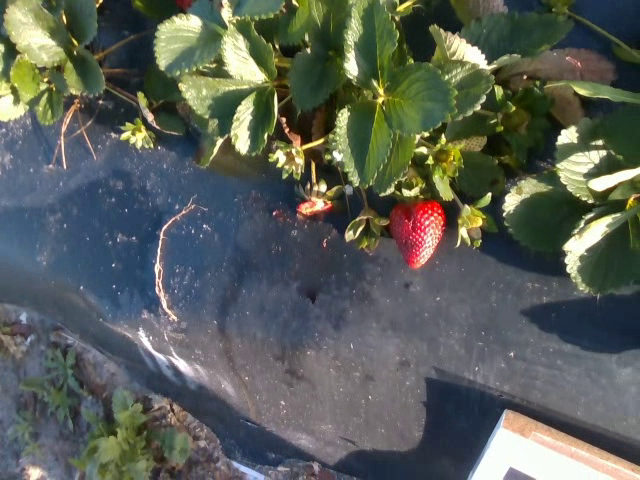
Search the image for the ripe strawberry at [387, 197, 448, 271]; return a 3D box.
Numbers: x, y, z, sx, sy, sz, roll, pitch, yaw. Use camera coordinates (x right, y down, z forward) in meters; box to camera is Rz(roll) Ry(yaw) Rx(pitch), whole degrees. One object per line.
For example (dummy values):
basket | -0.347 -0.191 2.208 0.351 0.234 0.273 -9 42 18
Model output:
ripe strawberry | 0.073 -0.001 0.459 0.052 0.052 0.041 -6 -27 32
